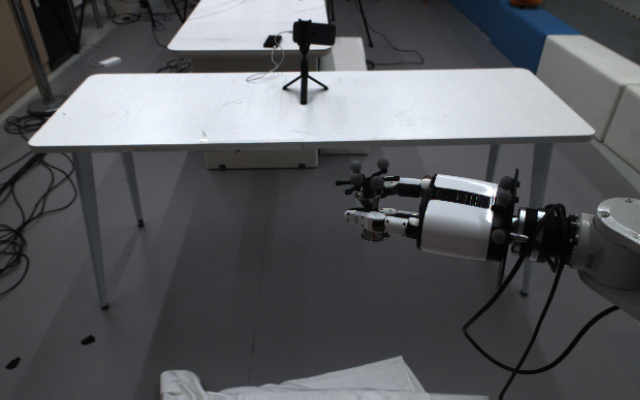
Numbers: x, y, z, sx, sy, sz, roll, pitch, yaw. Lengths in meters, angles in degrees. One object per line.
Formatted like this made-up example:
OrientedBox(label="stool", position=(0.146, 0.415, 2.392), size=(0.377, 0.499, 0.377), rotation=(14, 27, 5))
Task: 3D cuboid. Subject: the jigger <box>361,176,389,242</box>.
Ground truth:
OrientedBox(label="jigger", position=(0.075, 0.018, 0.688), size=(0.043, 0.071, 0.043), rotation=(-11, 23, 5))
